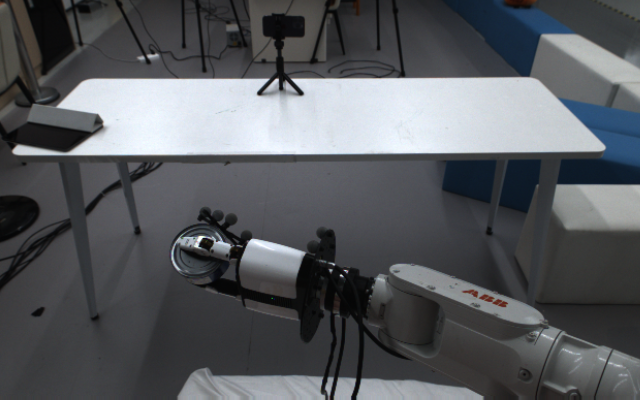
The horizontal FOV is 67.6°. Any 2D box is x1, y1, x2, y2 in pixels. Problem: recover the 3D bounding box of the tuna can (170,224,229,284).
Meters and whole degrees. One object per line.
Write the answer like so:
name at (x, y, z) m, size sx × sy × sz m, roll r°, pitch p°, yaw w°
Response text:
tuna can at (-0.174, 0.081, 0.712) m, size 0.085 × 0.034 × 0.085 m, roll -1°, pitch 59°, yaw 3°
